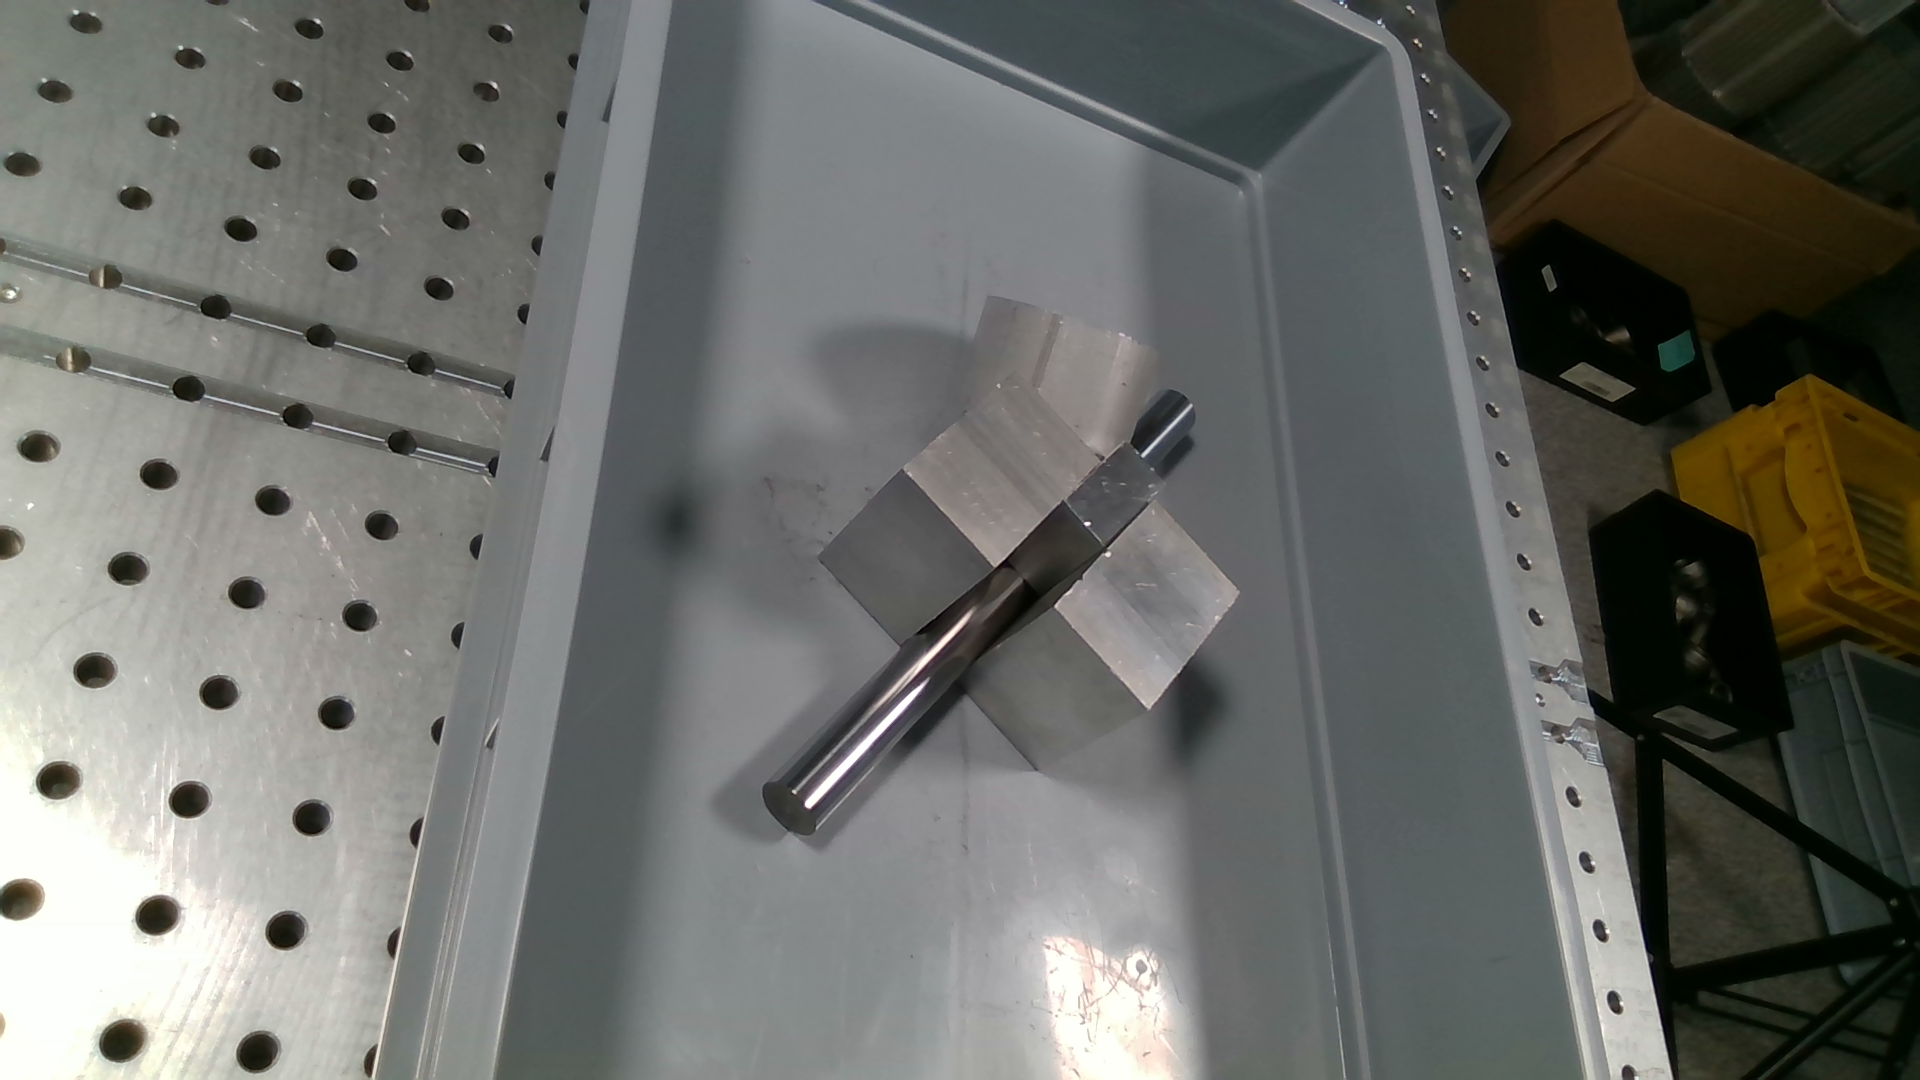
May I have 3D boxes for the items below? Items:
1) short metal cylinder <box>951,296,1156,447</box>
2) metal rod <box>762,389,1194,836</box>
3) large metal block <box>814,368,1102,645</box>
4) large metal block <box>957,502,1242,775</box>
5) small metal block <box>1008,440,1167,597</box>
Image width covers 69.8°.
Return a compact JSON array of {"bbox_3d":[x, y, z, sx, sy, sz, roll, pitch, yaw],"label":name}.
[{"bbox_3d":[0.041,-0.071,0.605,0.080,0.080,0.050,15,97,-24],"label":"short metal cylinder"},{"bbox_3d":[0.022,0.017,0.590,0.025,0.025,0.299,47,51,-1],"label":"metal rod"},{"bbox_3d":[-0.001,-0.012,0.556,0.050,0.080,0.080,47,51,-1],"label":"large metal block"},{"bbox_3d":[0.056,0.041,0.563,0.050,0.080,0.080,48,51,-1],"label":"large metal block"},{"bbox_3d":[0.051,-0.009,0.575,0.025,0.050,0.050,48,51,0],"label":"small metal block"}]
